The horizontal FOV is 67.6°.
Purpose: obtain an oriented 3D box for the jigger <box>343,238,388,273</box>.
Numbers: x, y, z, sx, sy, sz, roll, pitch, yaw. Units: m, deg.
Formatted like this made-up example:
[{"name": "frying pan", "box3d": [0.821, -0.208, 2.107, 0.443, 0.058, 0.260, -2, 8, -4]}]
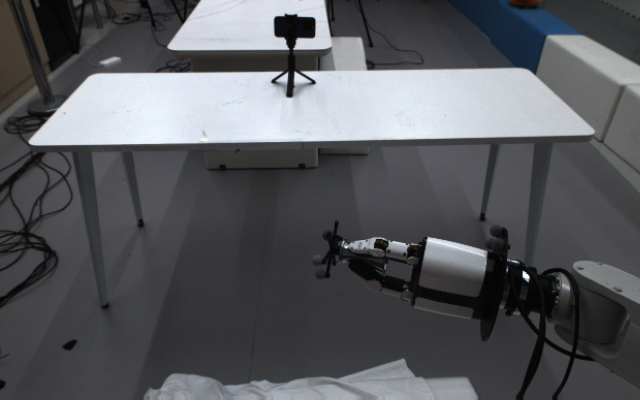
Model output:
[{"name": "jigger", "box3d": [0.073, 0.078, 0.720, 0.071, 0.043, 0.043, 9, 35, 16]}]
